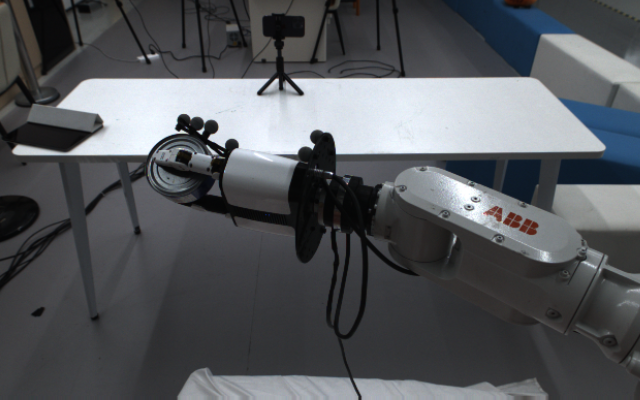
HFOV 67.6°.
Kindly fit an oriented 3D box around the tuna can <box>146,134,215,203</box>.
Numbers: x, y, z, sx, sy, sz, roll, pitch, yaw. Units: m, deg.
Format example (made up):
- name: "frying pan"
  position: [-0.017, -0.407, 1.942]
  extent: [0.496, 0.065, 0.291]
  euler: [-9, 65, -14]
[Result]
- name: "tuna can"
  position: [-0.177, -0.039, 0.625]
  extent: [0.085, 0.034, 0.085]
  euler: [-2, 70, 6]
